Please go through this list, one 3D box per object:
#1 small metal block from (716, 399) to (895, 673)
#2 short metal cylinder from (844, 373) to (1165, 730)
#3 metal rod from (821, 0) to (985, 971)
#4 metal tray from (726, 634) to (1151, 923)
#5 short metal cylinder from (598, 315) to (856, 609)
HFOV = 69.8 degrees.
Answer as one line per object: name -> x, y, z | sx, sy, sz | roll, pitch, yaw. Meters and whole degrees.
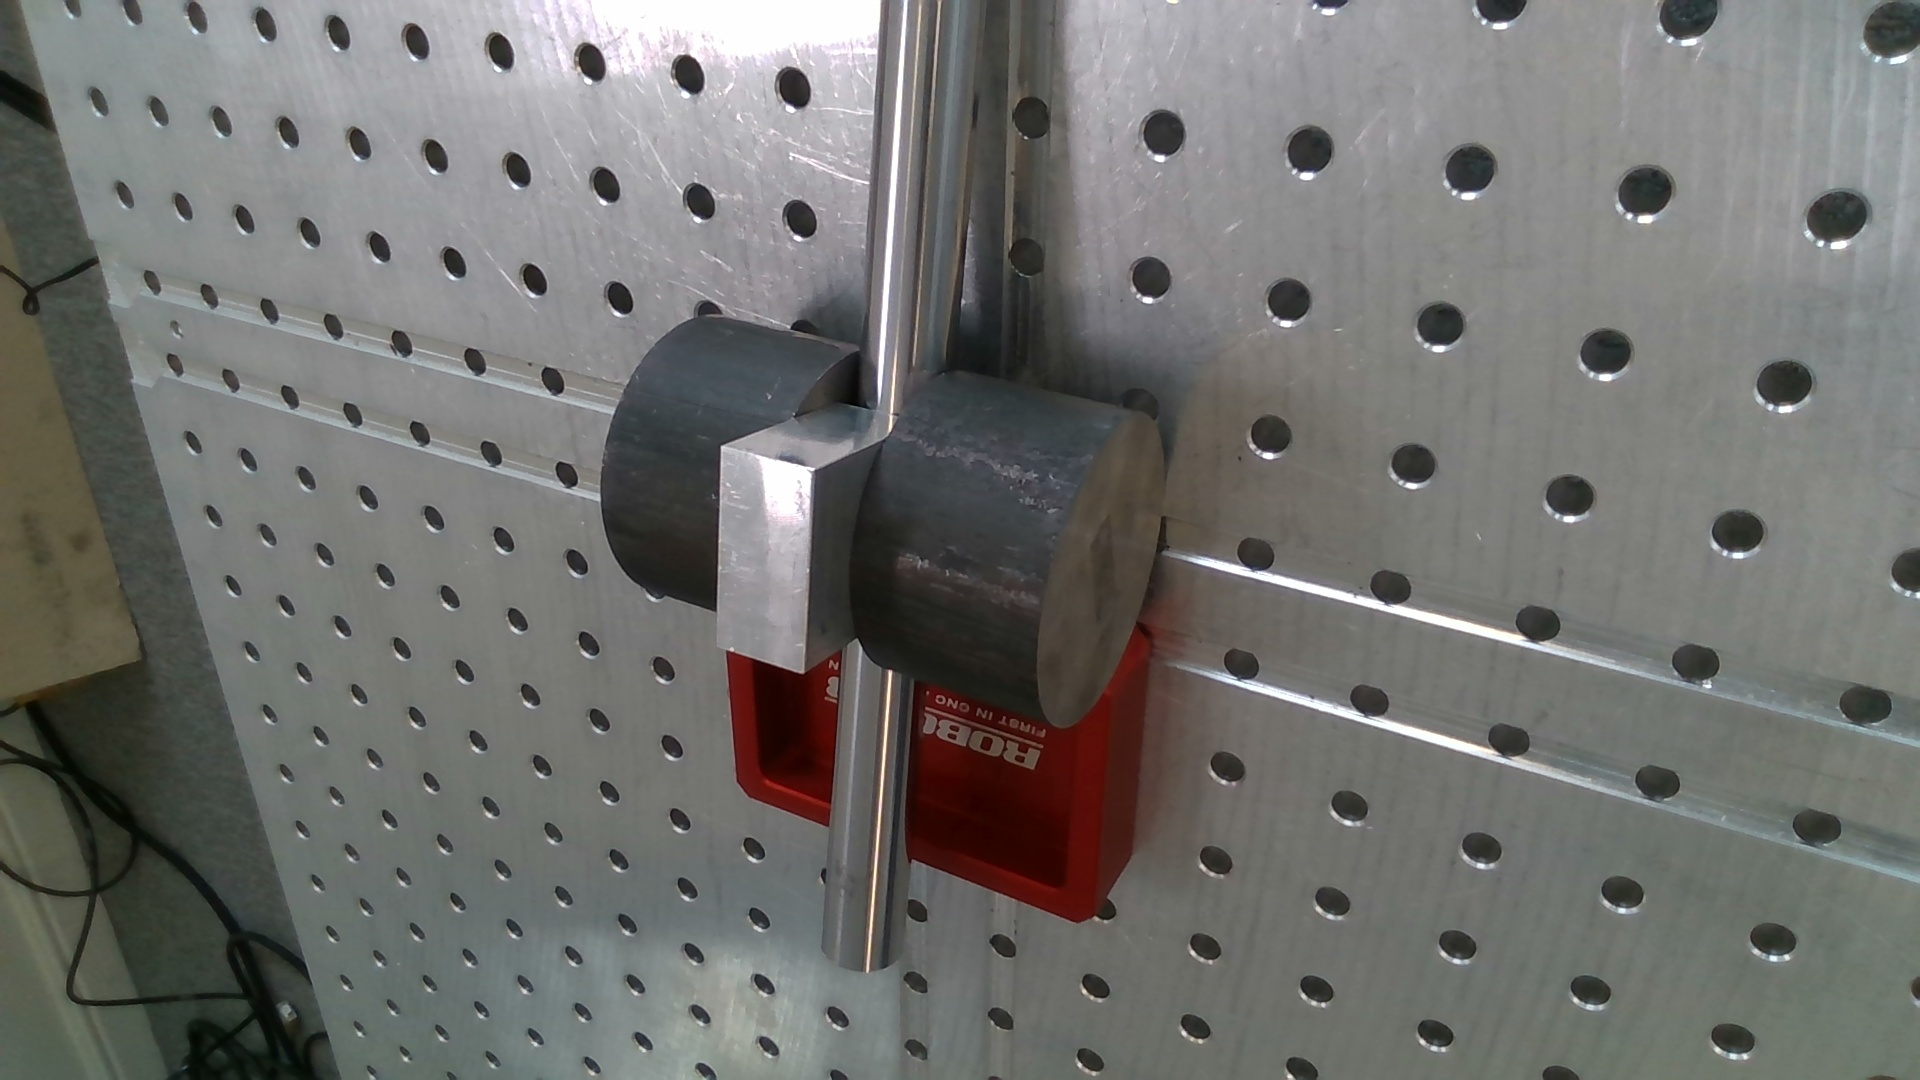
small metal block -> -0.033, -0.003, 0.333 | 0.025, 0.050, 0.050 | 15, 114, 24
short metal cylinder -> 0.013, 0.002, 0.347 | 0.050, 0.080, 0.080 | 15, 122, 24
metal rod -> -0.017, -0.017, 0.363 | 0.025, 0.025, 0.301 | 15, 113, 24
metal tray -> -0.010, 0.055, 0.425 | 0.130, 0.030, 0.090 | 15, 122, 24
short metal cylinder -> -0.053, -0.018, 0.378 | 0.050, 0.080, 0.080 | 16, 122, 24
